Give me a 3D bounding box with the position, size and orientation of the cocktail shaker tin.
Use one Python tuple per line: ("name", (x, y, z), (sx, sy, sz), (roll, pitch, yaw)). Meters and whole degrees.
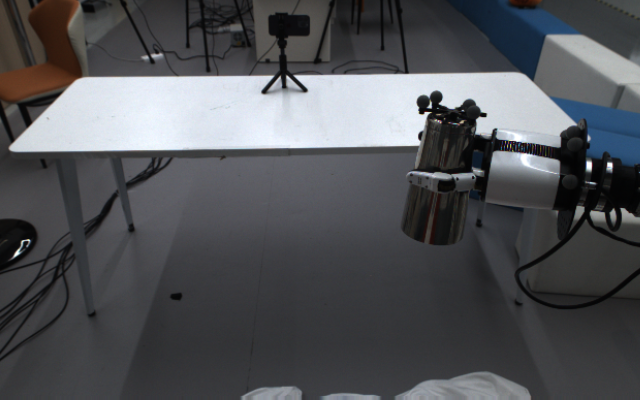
("cocktail shaker tin", (0.172, -0.034, 0.682), (0.093, 0.170, 0.093), (3, 25, -1))
